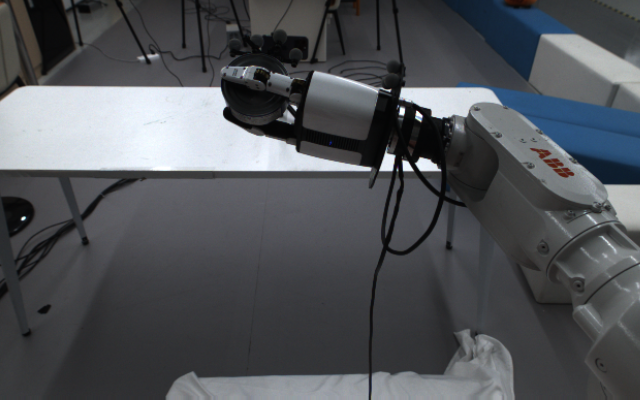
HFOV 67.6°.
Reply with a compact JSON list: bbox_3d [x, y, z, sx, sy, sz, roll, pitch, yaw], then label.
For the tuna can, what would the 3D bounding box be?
[{"bbox_3d":[-0.080,-0.140,0.611,0.085,0.034,0.085,1,73,-2],"label":"tuna can"}]
